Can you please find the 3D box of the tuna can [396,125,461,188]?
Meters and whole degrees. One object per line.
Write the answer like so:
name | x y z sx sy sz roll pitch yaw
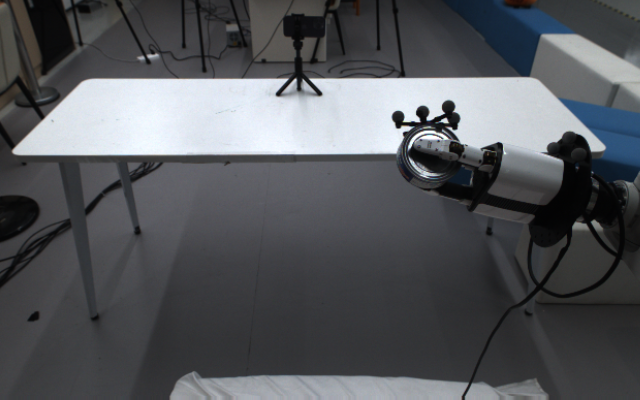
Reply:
tuna can | 0.150 -0.061 0.666 0.085 0.034 0.085 1 73 -4
